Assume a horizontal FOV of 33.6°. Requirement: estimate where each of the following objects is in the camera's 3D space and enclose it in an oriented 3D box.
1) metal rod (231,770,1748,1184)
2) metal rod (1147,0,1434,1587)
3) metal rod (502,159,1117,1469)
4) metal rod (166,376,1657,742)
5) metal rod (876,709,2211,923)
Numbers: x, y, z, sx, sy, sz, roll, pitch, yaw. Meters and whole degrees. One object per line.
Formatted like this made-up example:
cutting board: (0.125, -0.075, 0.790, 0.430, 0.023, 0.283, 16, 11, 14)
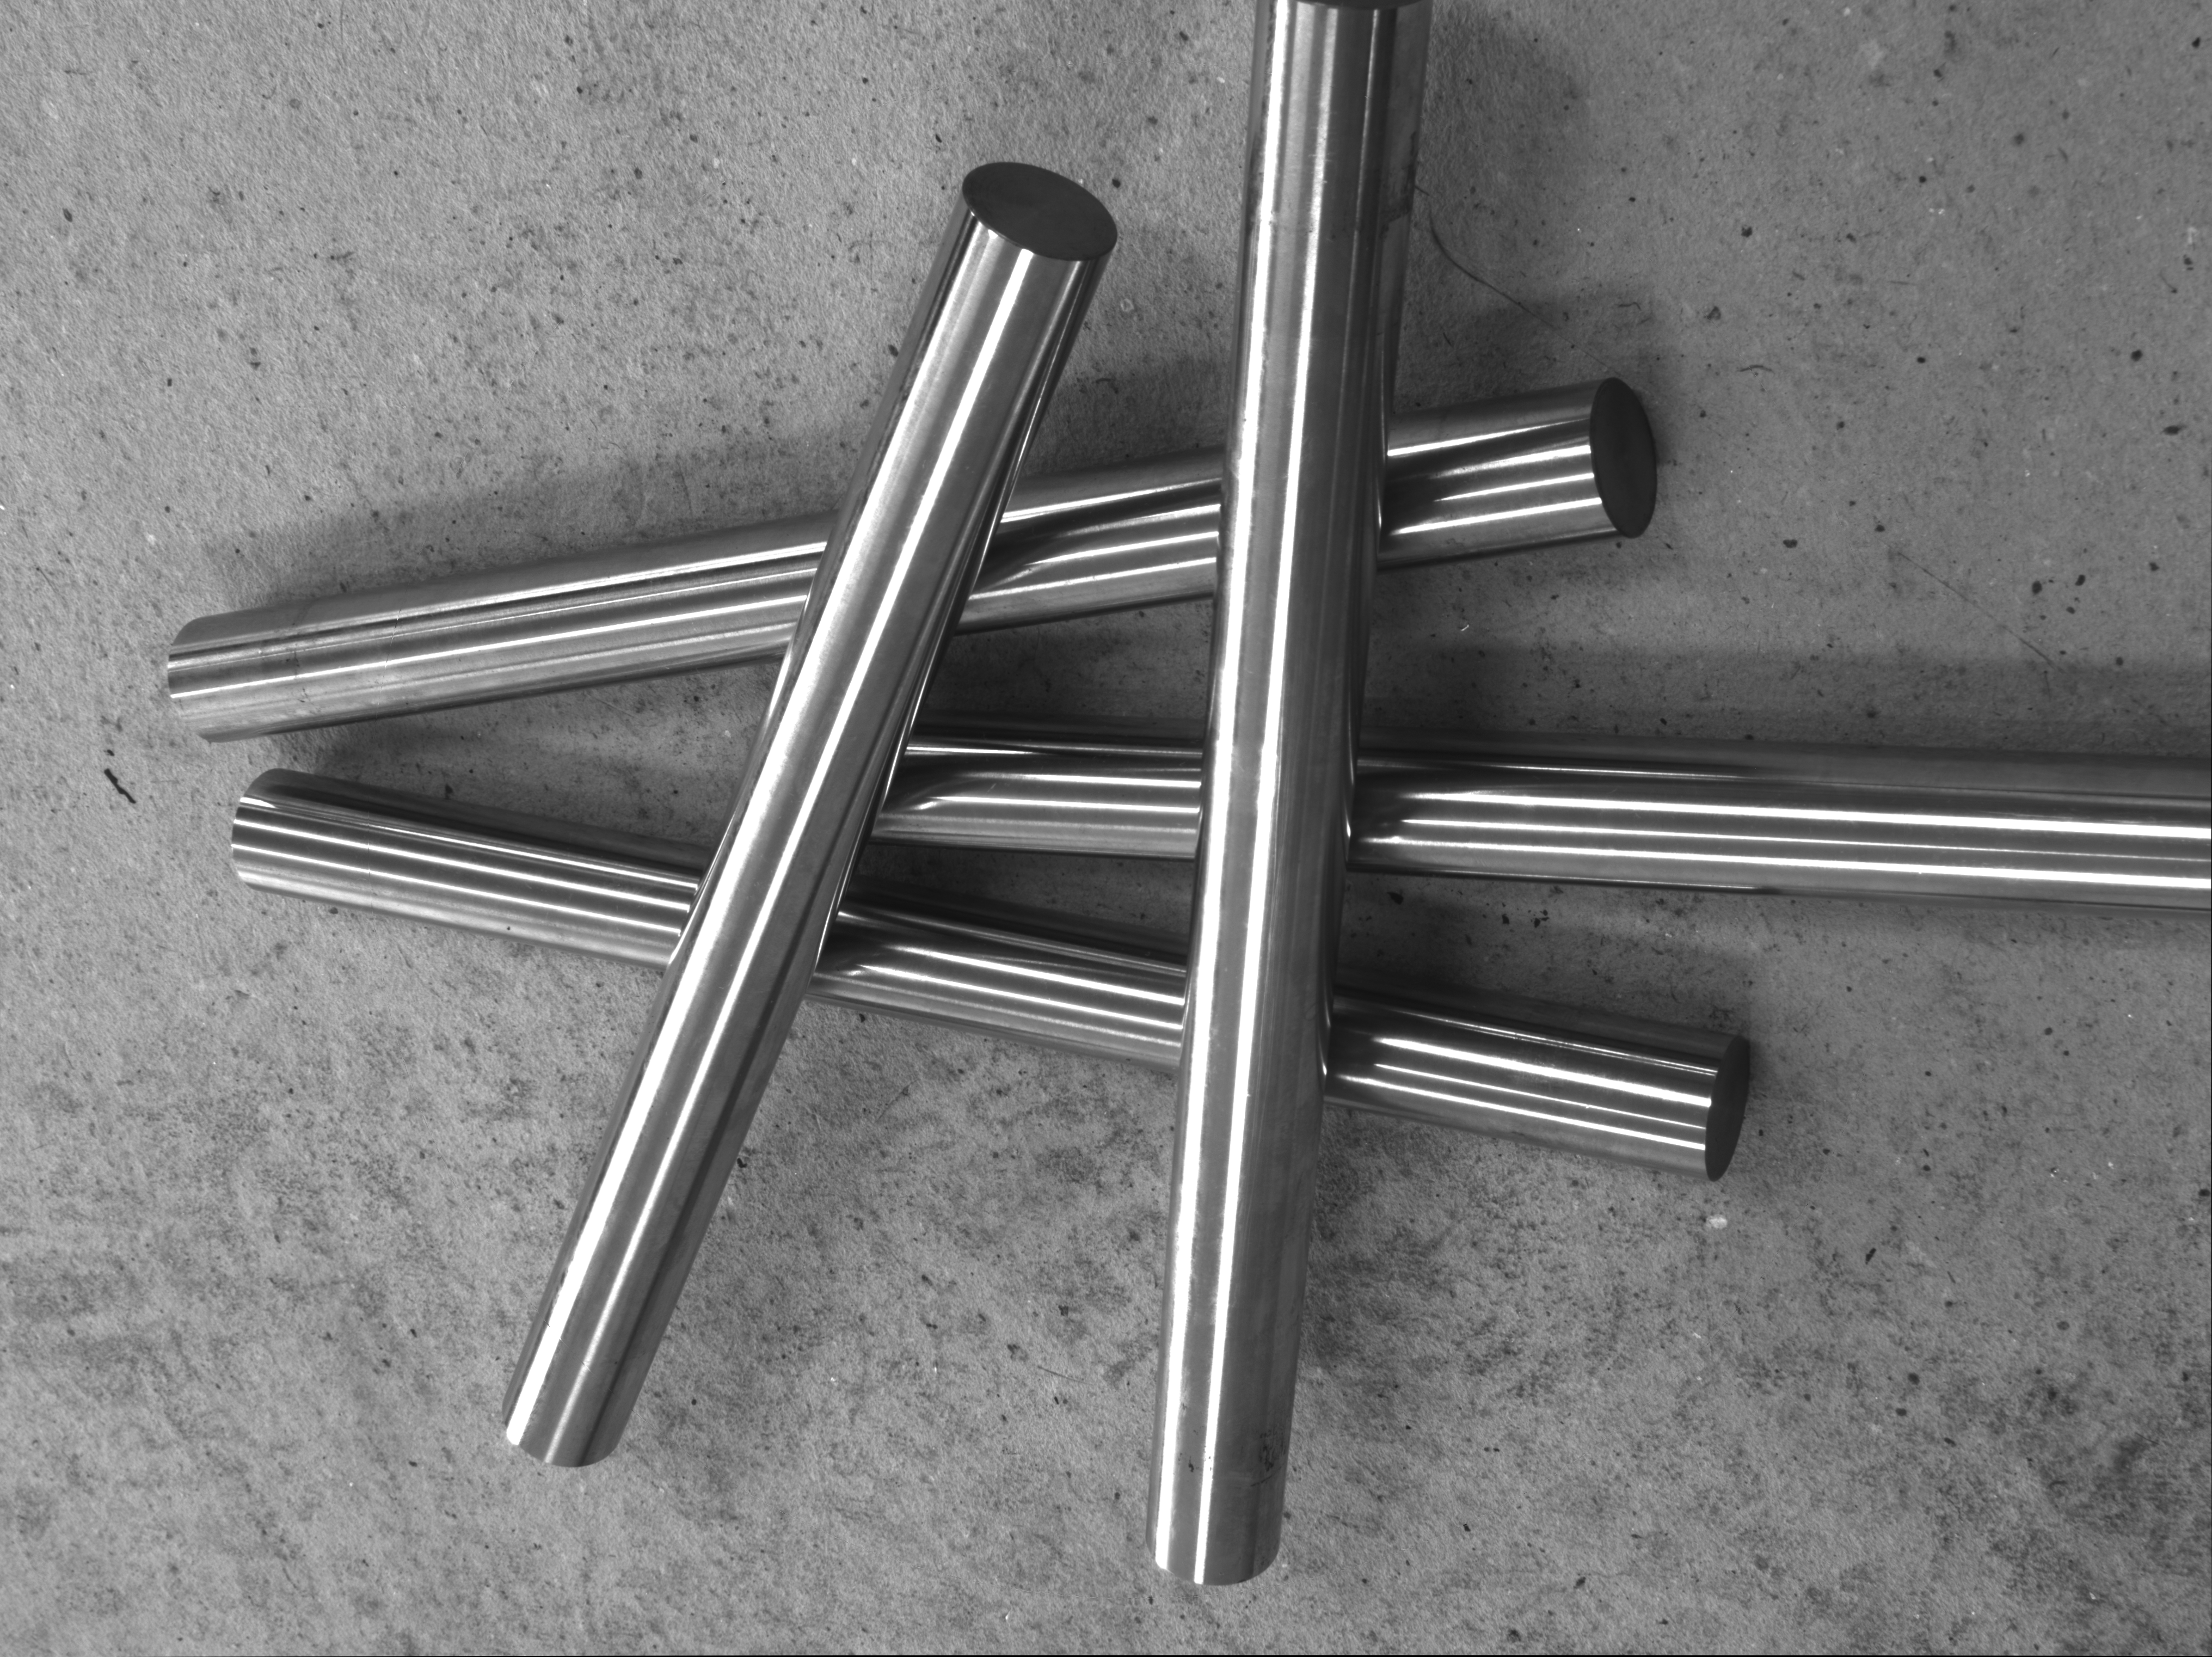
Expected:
metal rod: (-0.031, 0.024, 0.674, 0.299, 0.025, 0.025, 10, 123, 23)
metal rod: (0.027, 0.006, 0.599, 0.025, 0.025, 0.300, 16, 125, 19)
metal rod: (-0.060, 0.013, 0.650, 0.025, 0.025, 0.300, 31, 128, 8)
metal rod: (-0.048, -0.043, 0.642, 0.299, 0.025, 0.025, -6, 115, 31)
metal rod: (0.076, -0.003, 0.600, 0.299, 0.025, 0.025, 3, 120, 27)
